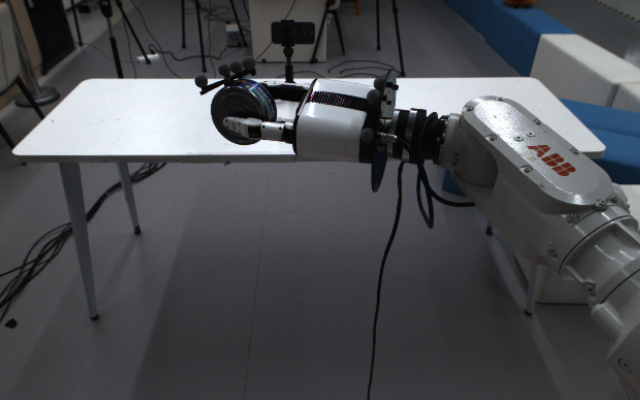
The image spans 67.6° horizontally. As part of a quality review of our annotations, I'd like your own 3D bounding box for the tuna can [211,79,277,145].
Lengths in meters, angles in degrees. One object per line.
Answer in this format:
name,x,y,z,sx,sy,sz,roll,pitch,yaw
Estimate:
tuna can,-0.101,-0.114,0.659,0.085,0.085,0.034,11,34,13
